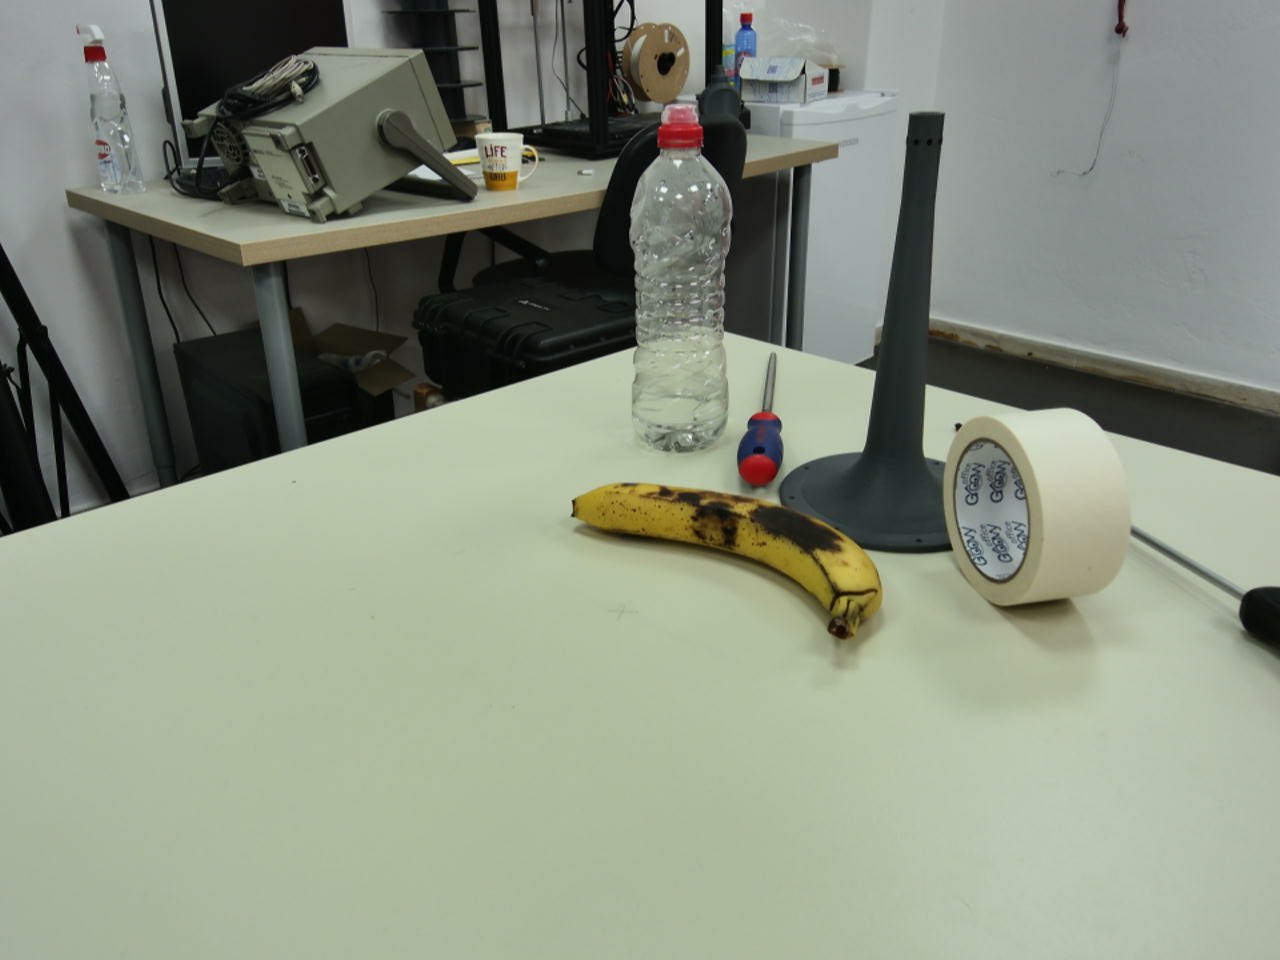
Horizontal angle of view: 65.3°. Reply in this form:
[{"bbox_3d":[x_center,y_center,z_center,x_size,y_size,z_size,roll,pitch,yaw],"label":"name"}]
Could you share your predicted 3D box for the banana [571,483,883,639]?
[{"bbox_3d":[0.058,0.036,0.602,0.084,0.037,0.222,-20,31,-38],"label":"banana"}]
